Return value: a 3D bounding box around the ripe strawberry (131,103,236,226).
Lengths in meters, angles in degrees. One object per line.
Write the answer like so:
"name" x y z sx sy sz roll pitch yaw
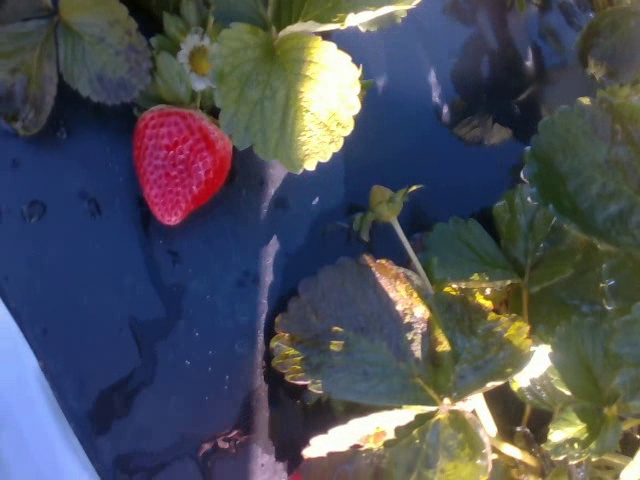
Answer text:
"ripe strawberry" -0.058 -0.029 0.252 0.046 0.058 0.042 6 -13 20
